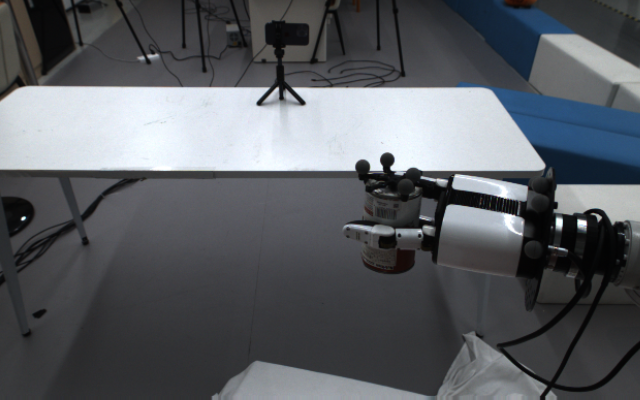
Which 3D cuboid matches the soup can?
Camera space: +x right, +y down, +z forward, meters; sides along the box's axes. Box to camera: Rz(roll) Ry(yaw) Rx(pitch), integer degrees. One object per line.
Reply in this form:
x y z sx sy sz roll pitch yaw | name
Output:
0.087 0.028 0.581 0.067 0.101 0.067 1 25 0 | soup can
